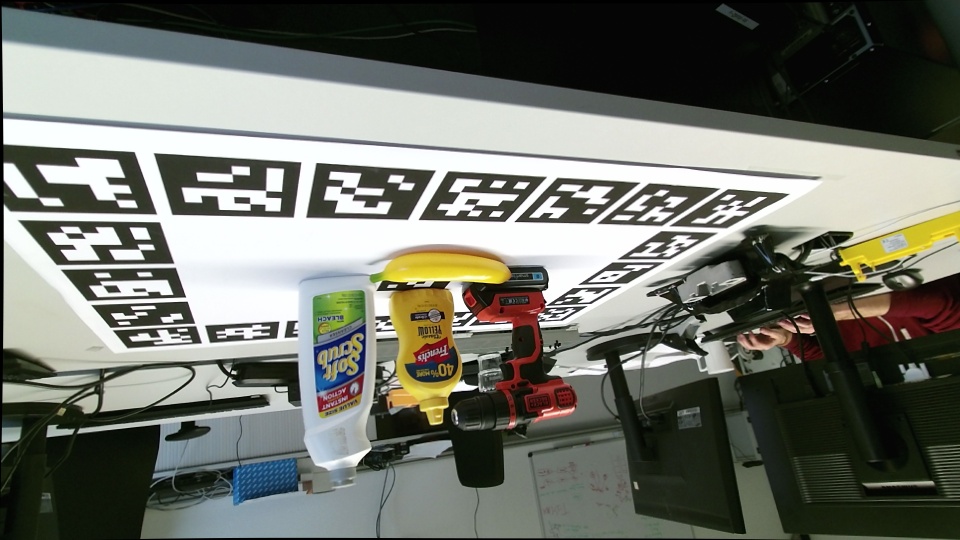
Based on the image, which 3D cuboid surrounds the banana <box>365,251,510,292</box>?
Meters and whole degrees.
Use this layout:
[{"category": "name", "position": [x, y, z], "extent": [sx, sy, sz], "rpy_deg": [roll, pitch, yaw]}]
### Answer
[{"category": "banana", "position": [-0.042, 0.003, 0.685], "extent": [0.198, 0.038, 0.074], "rpy_deg": [-1, 152, -26]}]

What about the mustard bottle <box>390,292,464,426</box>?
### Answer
[{"category": "mustard bottle", "position": [-0.074, 0.129, 0.781], "extent": [0.096, 0.190, 0.058], "rpy_deg": [0, 156, -22]}]

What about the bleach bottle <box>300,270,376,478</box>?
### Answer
[{"category": "bleach bottle", "position": [-0.171, 0.126, 0.676], "extent": [0.103, 0.249, 0.068], "rpy_deg": [-5, 157, -14]}]

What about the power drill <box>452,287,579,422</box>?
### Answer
[{"category": "power drill", "position": [0.045, 0.119, 0.762], "extent": [0.185, 0.186, 0.057], "rpy_deg": [0, 163, -18]}]
